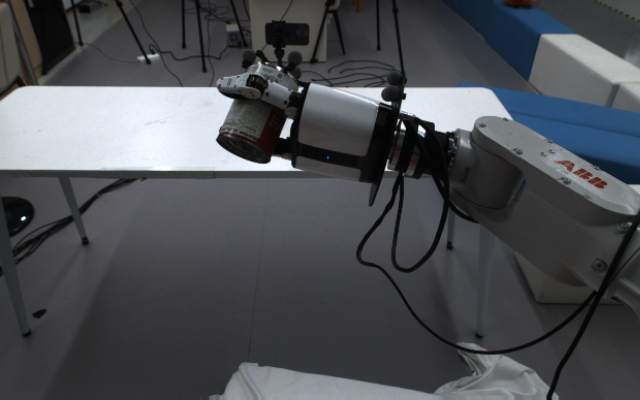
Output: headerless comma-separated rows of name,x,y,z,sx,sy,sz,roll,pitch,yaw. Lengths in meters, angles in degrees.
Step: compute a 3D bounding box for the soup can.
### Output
soup can,-0.072,-0.103,0.579,0.067,0.067,0.101,15,76,18
